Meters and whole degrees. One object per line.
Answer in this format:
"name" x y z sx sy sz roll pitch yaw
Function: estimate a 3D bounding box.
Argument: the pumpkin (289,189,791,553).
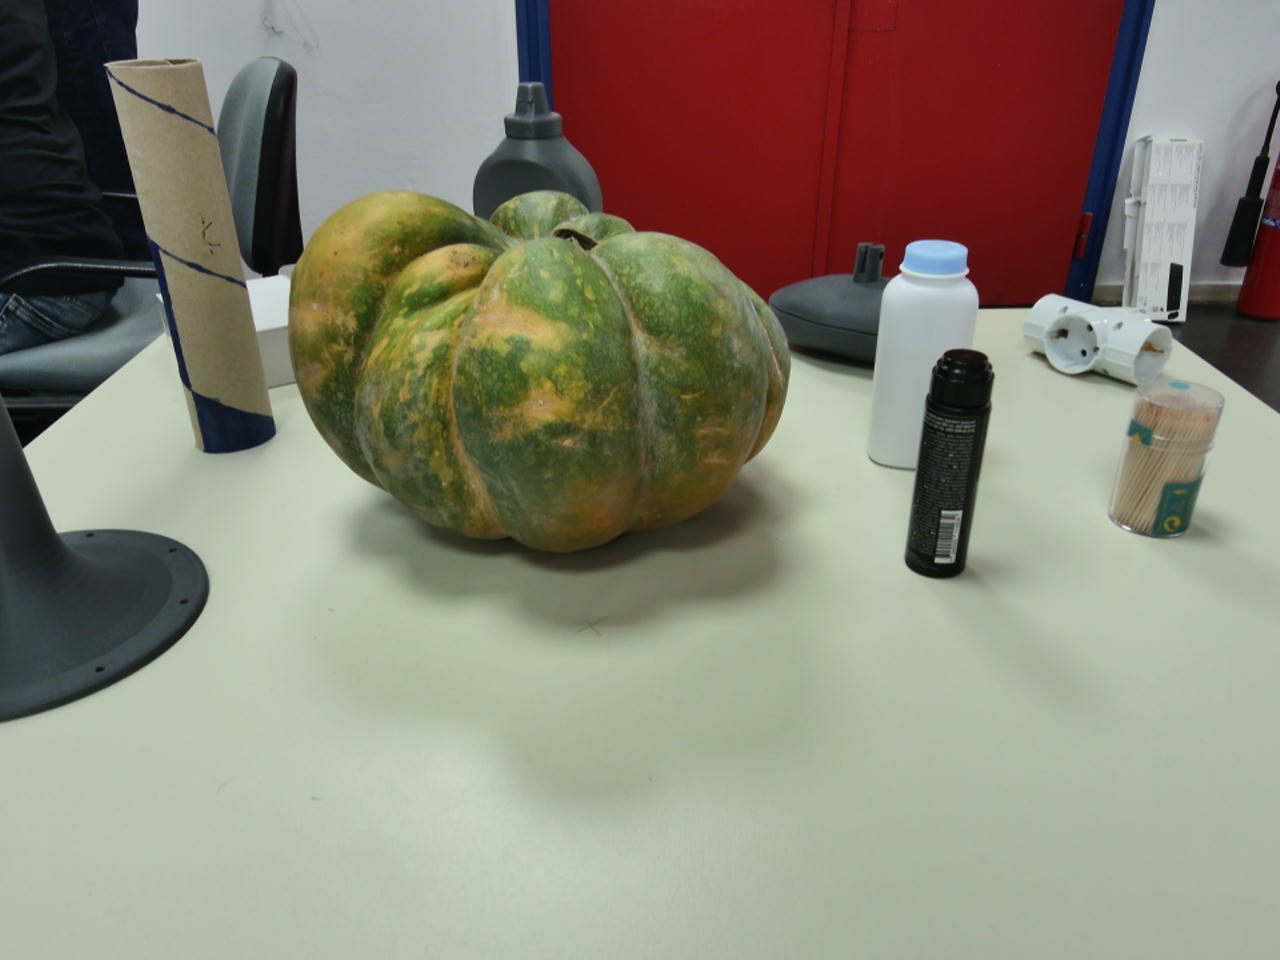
"pumpkin" -0.051 -0.068 0.534 0.270 0.173 0.237 18 31 33
